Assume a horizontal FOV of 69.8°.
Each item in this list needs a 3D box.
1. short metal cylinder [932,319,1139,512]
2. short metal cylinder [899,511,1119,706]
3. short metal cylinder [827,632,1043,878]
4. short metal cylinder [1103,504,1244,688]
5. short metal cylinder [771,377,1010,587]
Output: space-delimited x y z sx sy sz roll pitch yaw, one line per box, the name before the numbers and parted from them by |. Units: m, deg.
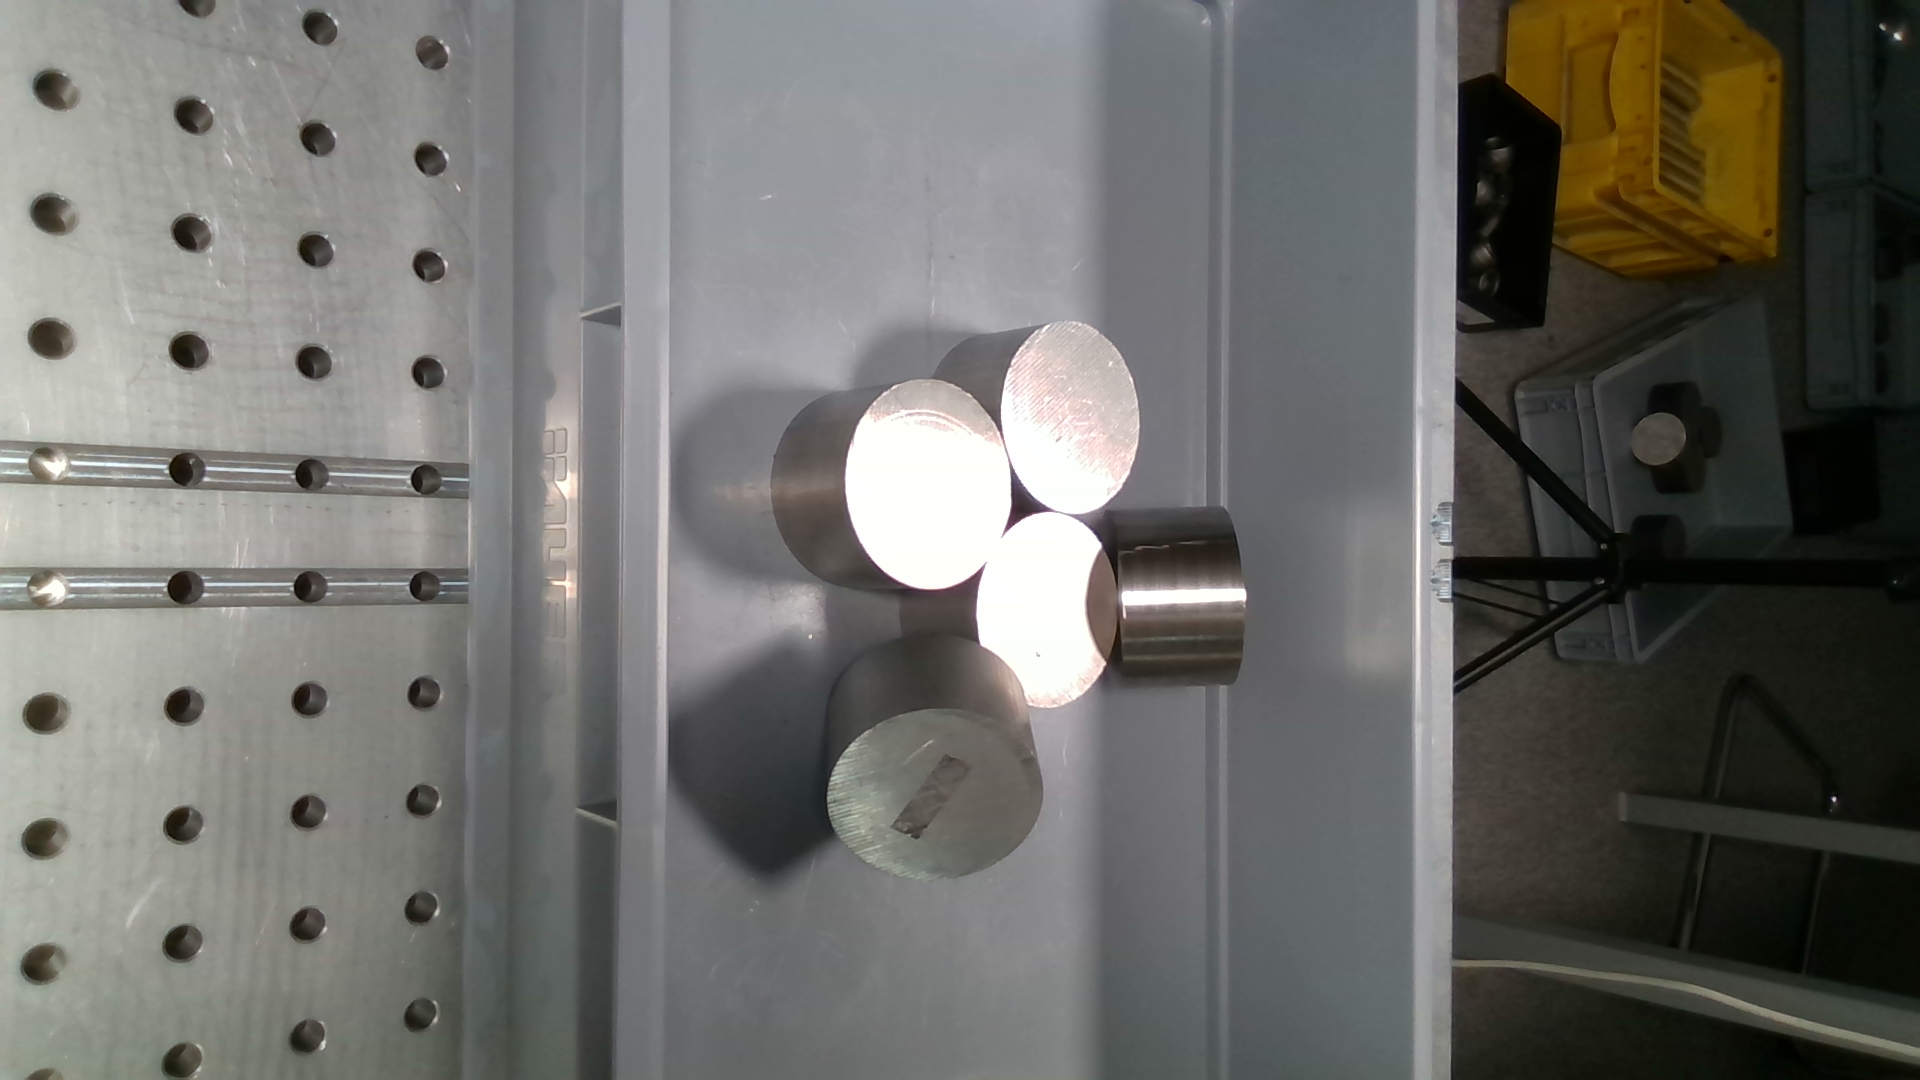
short metal cylinder | 0.031 -0.052 0.591 0.080 0.050 0.080 0 90 -40
short metal cylinder | 0.021 0.028 0.583 0.080 0.050 0.080 0 90 -40
short metal cylinder | -0.011 0.082 0.529 0.080 0.050 0.080 -2 119 -4
short metal cylinder | 0.092 0.025 0.614 0.050 0.080 0.080 -2 92 -2
short metal cylinder | -0.027 -0.022 0.542 0.080 0.050 0.080 0 90 -40
